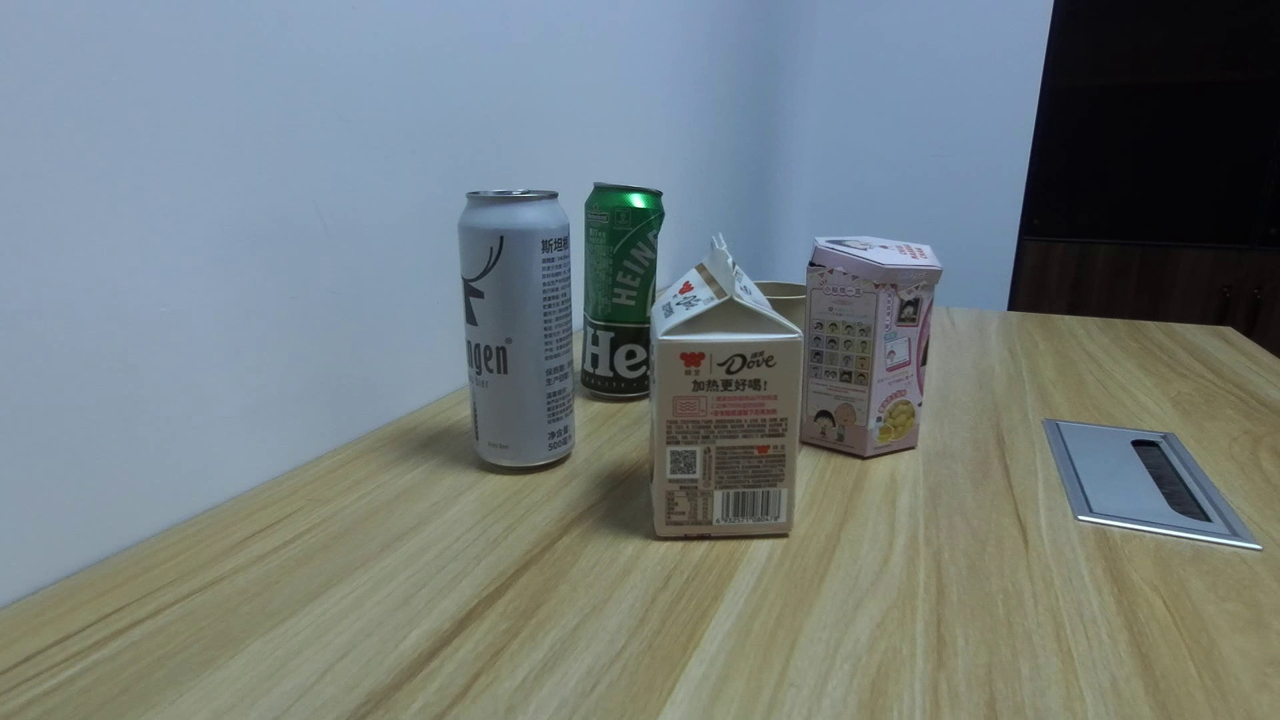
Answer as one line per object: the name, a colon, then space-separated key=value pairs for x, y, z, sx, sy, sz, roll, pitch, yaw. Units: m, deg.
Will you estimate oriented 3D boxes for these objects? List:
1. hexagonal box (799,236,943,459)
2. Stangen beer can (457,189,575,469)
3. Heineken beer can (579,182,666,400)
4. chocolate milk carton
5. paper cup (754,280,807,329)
hexagonal box: x=0.150 y=-0.012 z=0.481 sx=0.085 sy=0.135 sz=0.092 roll=3 pitch=17 yaw=8
Stangen beer can: x=-0.075 y=-0.018 z=0.445 sx=0.067 sy=0.171 sz=0.067 roll=0 pitch=16 yaw=0
Heineken beer can: x=-0.011 y=-0.049 z=0.558 sx=0.069 sy=0.168 sz=0.068 roll=5 pitch=5 yaw=22
chocolate milk carton: x=0.043 y=0.010 z=0.377 sx=0.074 sy=0.148 sz=0.075 roll=-1 pitch=17 yaw=-1
paper cup: x=0.096 y=-0.017 z=0.568 sx=0.075 sy=0.082 sz=0.075 roll=0 pitch=16 yaw=0
